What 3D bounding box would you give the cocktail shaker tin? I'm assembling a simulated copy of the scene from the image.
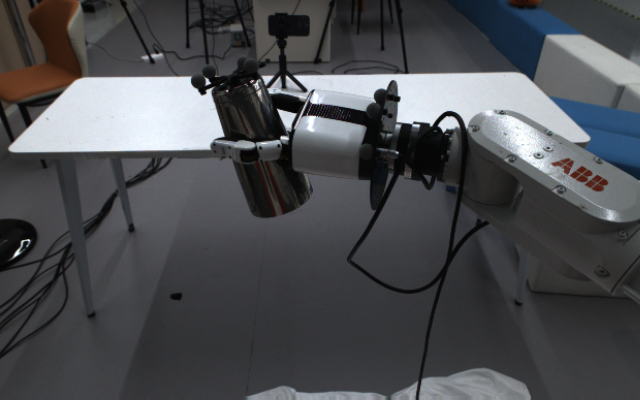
[{"bbox_3d":[-0.078,-0.072,0.631,0.093,0.170,0.093,-15,29,8],"label":"cocktail shaker tin"}]
